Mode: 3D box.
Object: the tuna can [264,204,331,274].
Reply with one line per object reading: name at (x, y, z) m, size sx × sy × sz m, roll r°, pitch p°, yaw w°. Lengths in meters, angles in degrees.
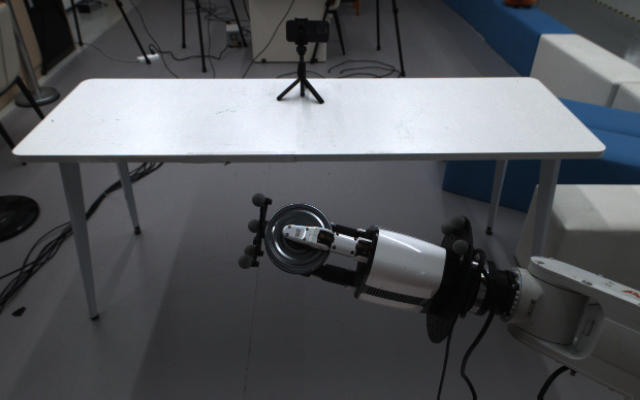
tuna can at (-0.023, 0.051, 0.598) m, size 0.085 × 0.034 × 0.085 m, roll 2°, pitch 73°, yaw -5°
